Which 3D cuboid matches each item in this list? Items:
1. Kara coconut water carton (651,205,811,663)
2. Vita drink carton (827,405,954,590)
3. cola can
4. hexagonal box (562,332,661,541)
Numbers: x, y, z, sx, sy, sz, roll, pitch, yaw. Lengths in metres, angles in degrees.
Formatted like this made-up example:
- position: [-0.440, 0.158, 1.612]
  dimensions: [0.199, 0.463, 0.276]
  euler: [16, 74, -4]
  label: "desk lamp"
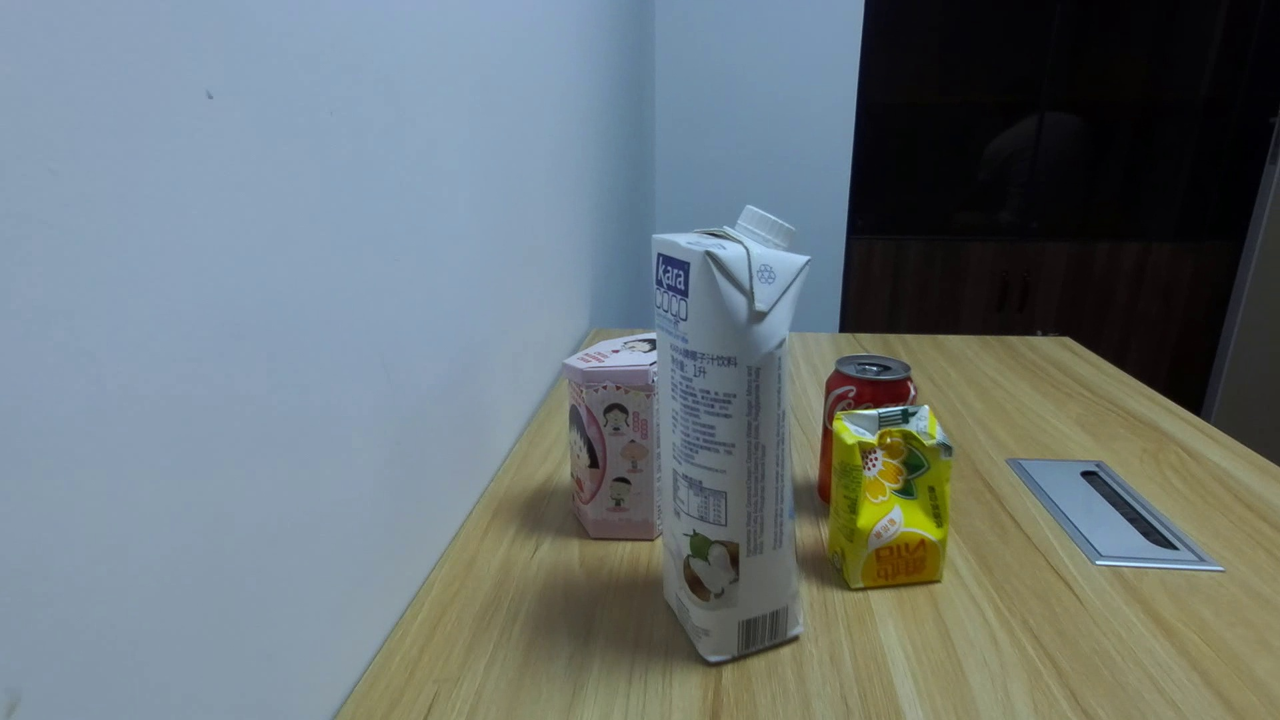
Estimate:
- position: [0.050, 0.039, 0.394]
  dimensions: [0.071, 0.244, 0.099]
  euler: [-8, 21, -19]
  label: "Kara coconut water carton"
- position: [0.163, 0.089, 0.457]
  dimensions: [0.071, 0.109, 0.046]
  euler: [-4, 18, -7]
  label: "Vita drink carton"
- position: [0.173, 0.057, 0.541]
  dimensions: [0.068, 0.120, 0.068]
  euler: [1, 19, 0]
  label: "cola can"
- position: [-0.007, 0.055, 0.527]
  dimensions: [0.085, 0.135, 0.091]
  euler: [-9, 21, -20]
  label: "hexagonal box"
